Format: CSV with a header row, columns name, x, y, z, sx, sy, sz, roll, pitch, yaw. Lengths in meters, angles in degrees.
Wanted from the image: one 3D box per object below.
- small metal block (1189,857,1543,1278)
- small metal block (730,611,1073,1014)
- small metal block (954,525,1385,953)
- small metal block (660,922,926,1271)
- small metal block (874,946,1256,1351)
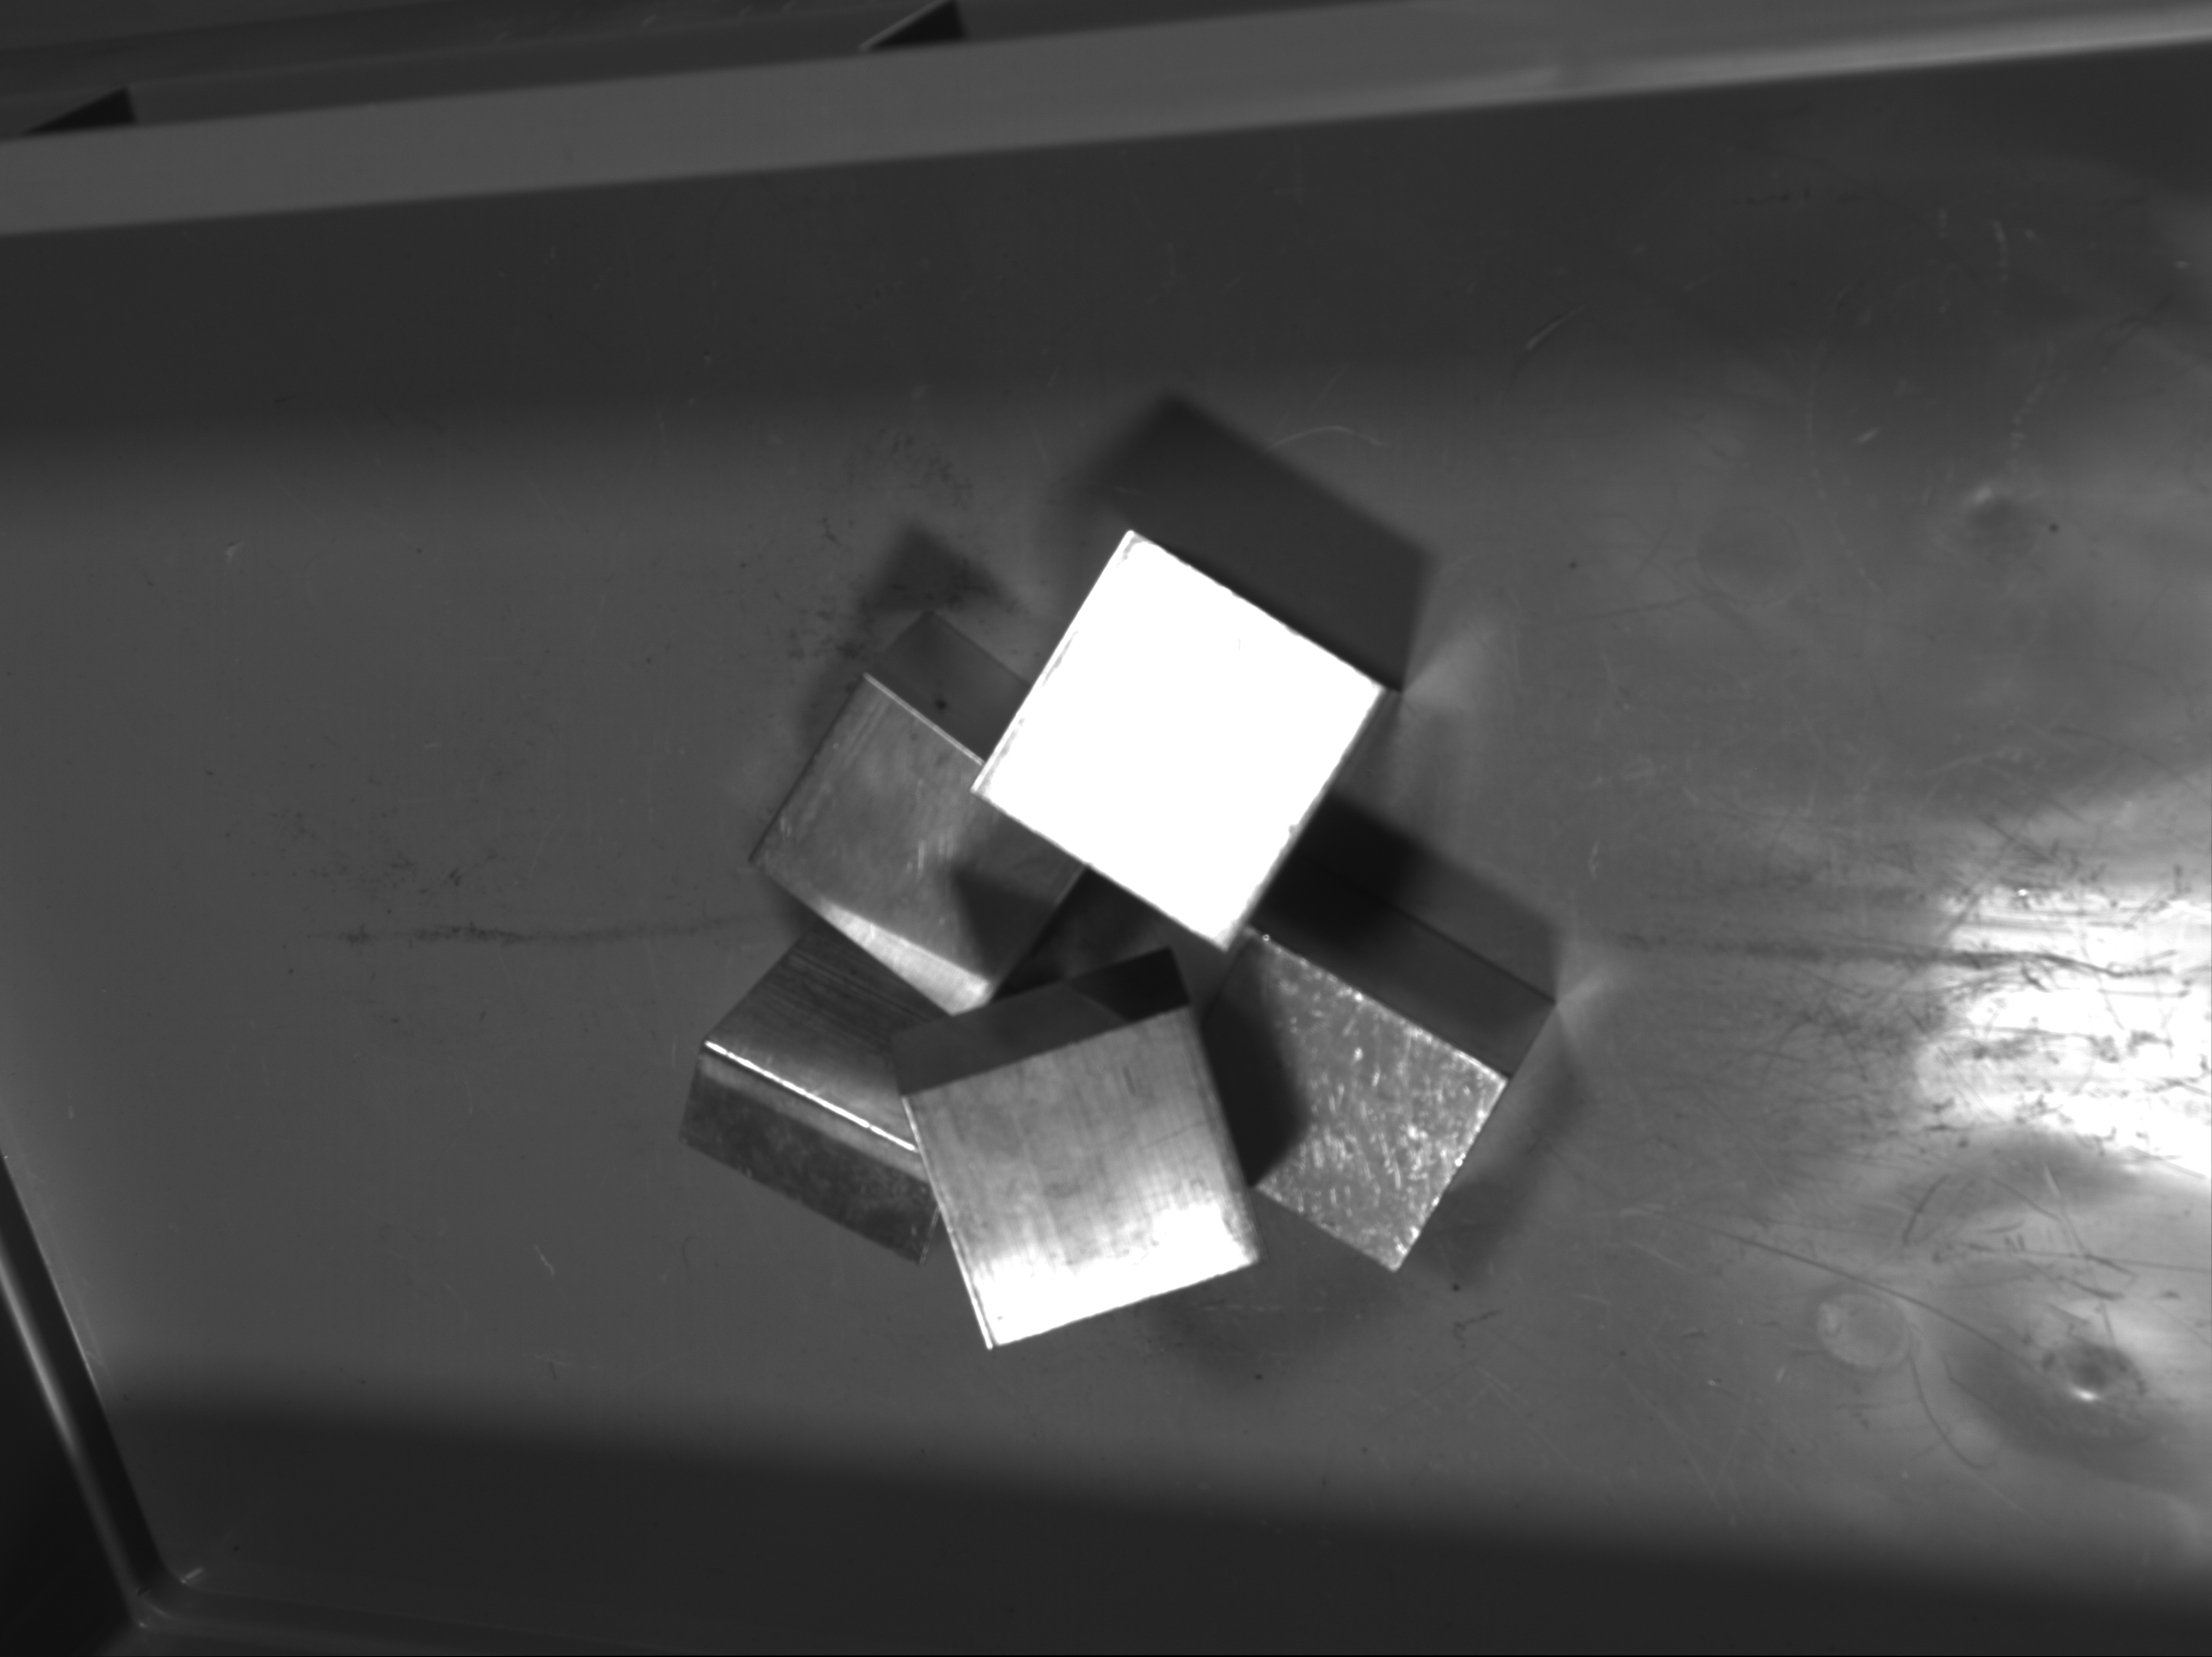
name,x,y,z,sx,sy,sz,roll,pitch,yaw
small metal block,0.040,0.042,0.634,0.050,0.025,0.050,31,127,7
small metal block,-0.030,-0.001,0.643,0.050,0.025,0.050,37,128,2
small metal block,0.011,-0.015,0.601,0.050,0.025,0.050,32,95,6
small metal block,-0.045,0.046,0.663,0.050,0.050,0.025,26,127,11
small metal block,-0.007,0.054,0.619,0.050,0.025,0.050,-18,113,-1
